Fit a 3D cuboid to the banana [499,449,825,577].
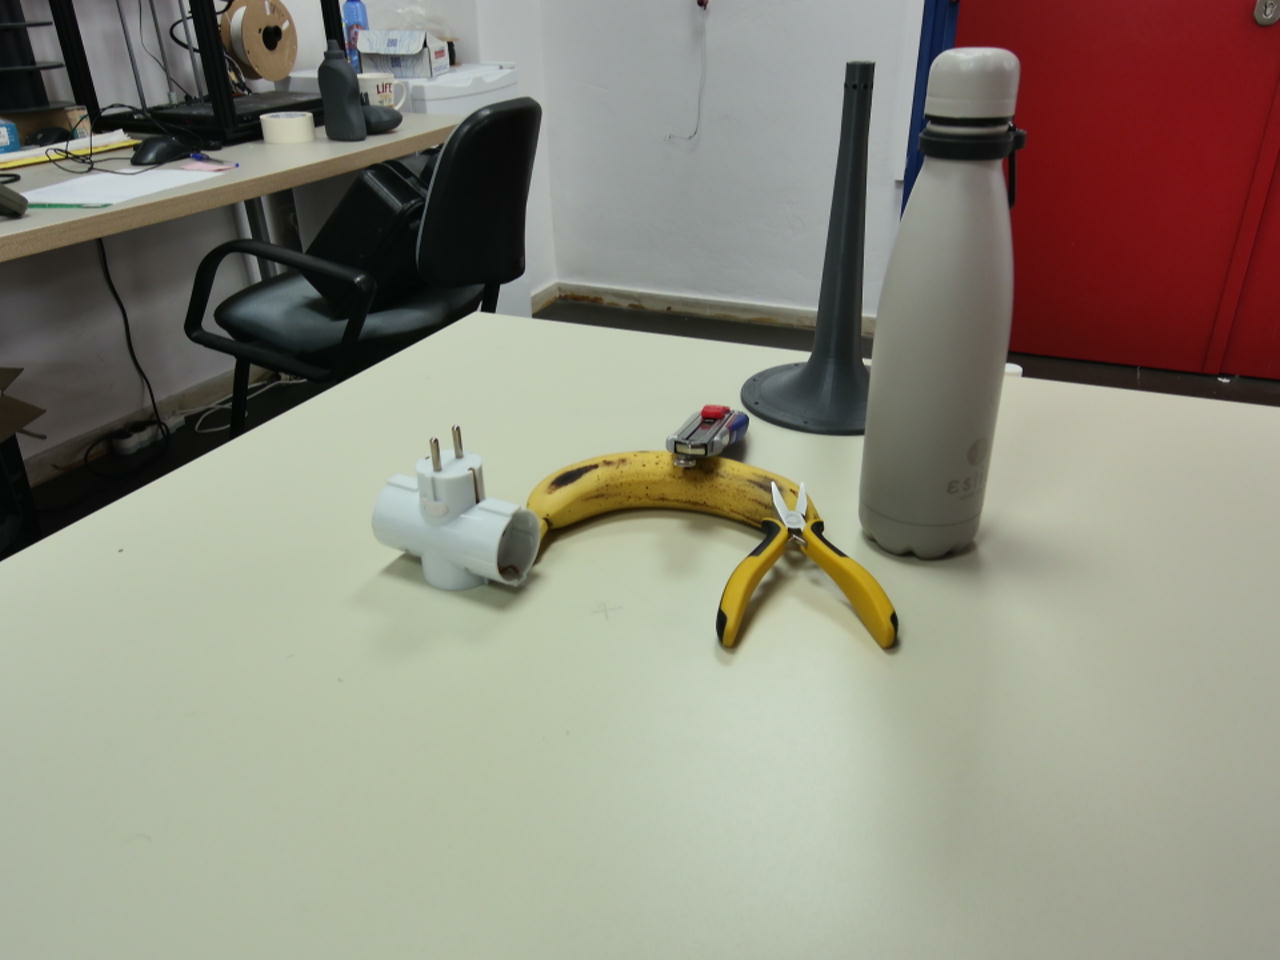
[{"bbox_3d":[0.012,0.013,0.618,0.186,0.038,0.097,-2,26,-3],"label":"banana"}]
